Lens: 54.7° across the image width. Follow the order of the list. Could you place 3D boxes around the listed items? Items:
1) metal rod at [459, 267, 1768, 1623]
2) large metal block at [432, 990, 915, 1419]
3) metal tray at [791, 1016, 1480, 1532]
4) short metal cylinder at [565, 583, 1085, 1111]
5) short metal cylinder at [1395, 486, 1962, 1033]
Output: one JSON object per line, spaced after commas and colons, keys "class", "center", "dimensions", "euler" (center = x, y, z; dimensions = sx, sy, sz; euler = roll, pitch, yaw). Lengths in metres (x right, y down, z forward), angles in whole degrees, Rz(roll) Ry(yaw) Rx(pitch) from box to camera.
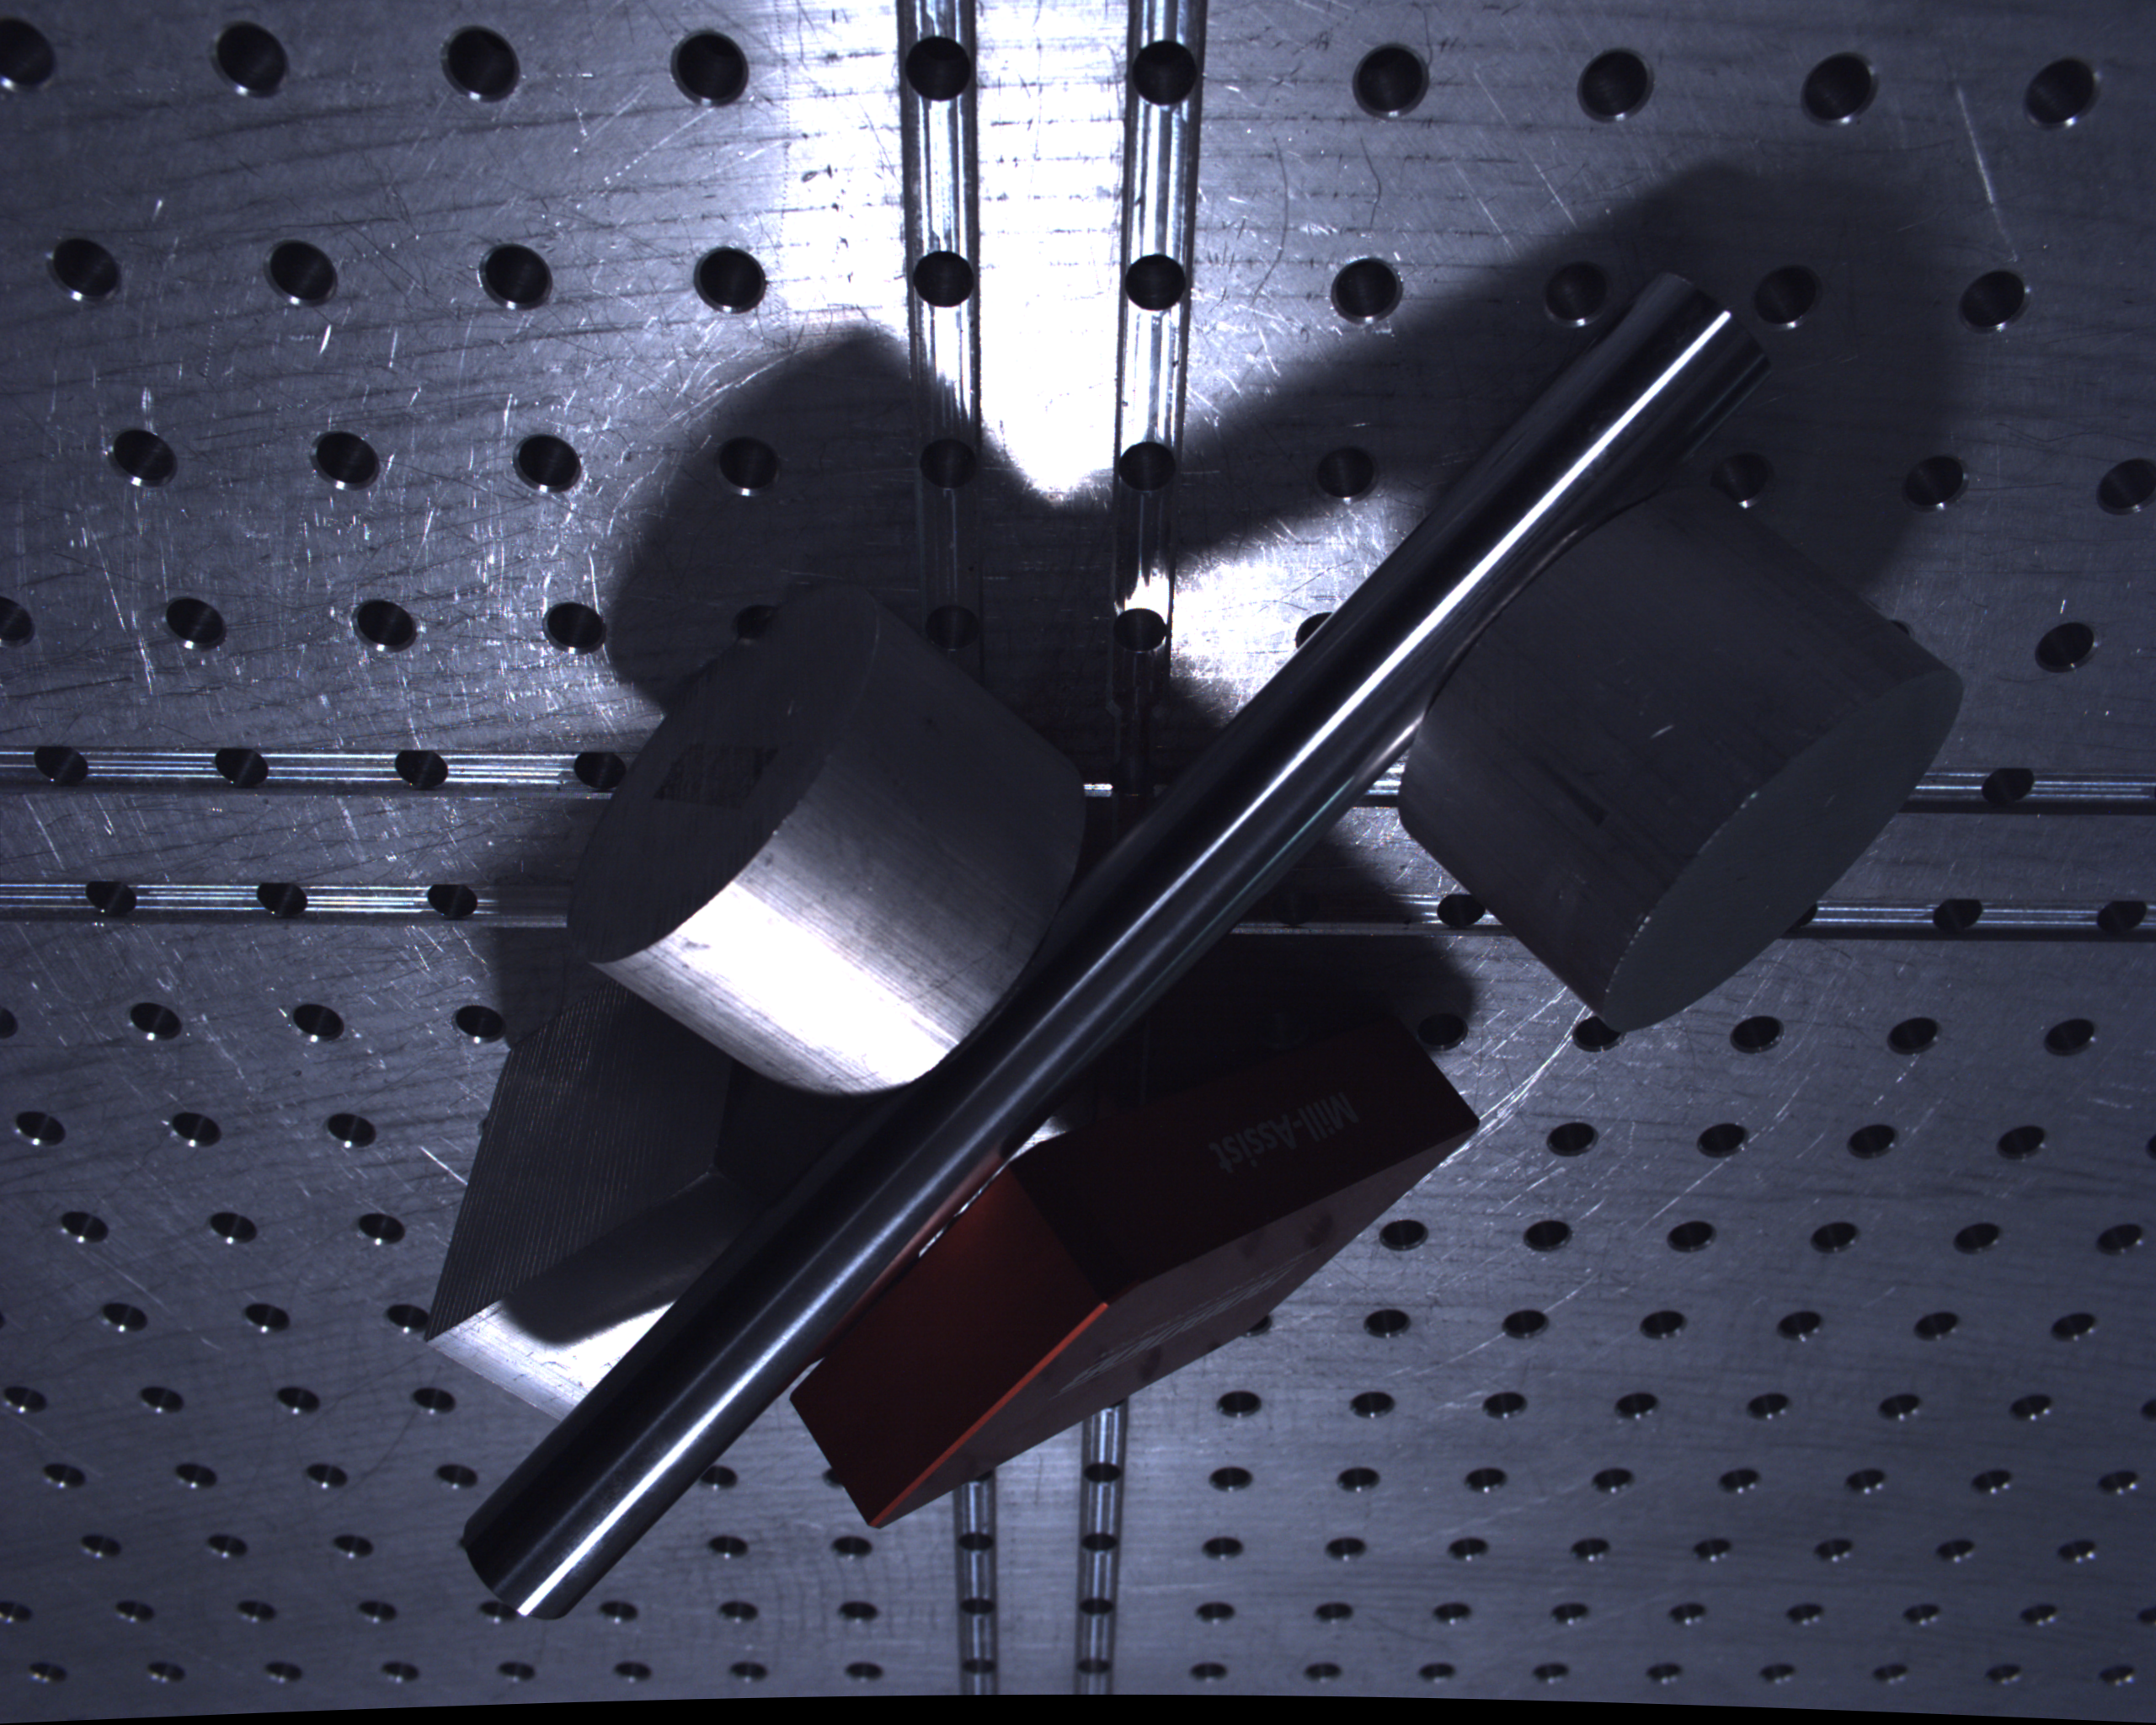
{"class": "metal rod", "center": [0.000, 0.020, 0.358], "dimensions": [0.299, 0.025, 0.025], "euler": [-47, 119, 7]}
{"class": "large metal block", "center": [-0.077, 0.064, 0.428], "dimensions": [0.080, 0.080, 0.050], "euler": [-32, 123, 24]}
{"class": "metal tray", "center": [0.015, 0.080, 0.425], "dimensions": [0.131, 0.030, 0.090], "euler": [-11, 148, -51]}
{"class": "short metal cylinder", "center": [-0.045, -0.003, 0.372], "dimensions": [0.080, 0.080, 0.050], "euler": [-36, 122, 26]}
{"class": "short metal cylinder", "center": [0.101, -0.017, 0.356], "dimensions": [0.080, 0.050, 0.080], "euler": [-32, 152, -19]}
